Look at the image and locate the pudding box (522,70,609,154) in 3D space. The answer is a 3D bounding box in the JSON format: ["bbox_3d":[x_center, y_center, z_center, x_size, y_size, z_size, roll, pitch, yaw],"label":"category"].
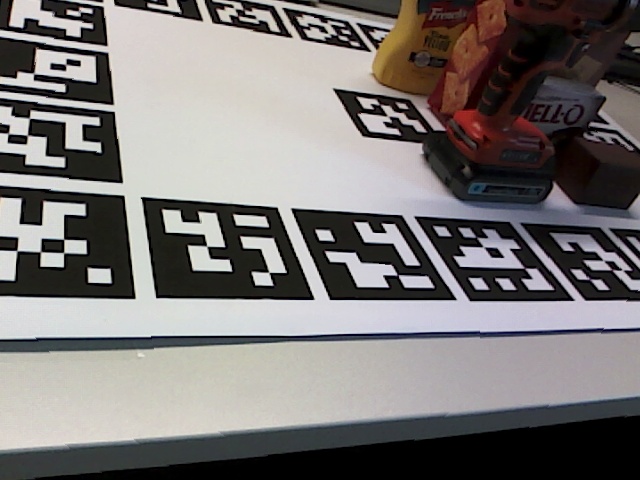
[{"bbox_3d":[0.237,-0.139,0.665,0.113,0.090,0.039,0,41,-21],"label":"pudding box"}]

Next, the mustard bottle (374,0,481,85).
[{"bbox_3d":[0.137,-0.278,0.710,0.096,0.191,0.058,11,40,-13],"label":"mustard bottle"}]

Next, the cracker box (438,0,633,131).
[{"bbox_3d":[0.246,-0.211,0.669,0.163,0.213,0.072,-1,41,-23],"label":"cracker box"}]

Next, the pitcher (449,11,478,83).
[{"bbox_3d":[0.262,-0.282,0.755,0.188,0.242,0.134,5,41,-17],"label":"pitcher"}]

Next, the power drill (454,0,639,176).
[{"bbox_3d":[0.218,-0.150,0.556,0.183,0.187,0.058,1,38,-25],"label":"power drill"}]

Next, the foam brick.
[{"bbox_3d":[0.298,-0.069,0.663,0.077,0.051,0.053,4,43,-22],"label":"foam brick"}]
